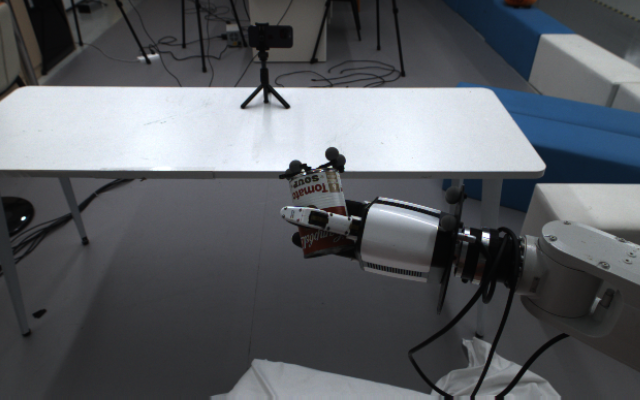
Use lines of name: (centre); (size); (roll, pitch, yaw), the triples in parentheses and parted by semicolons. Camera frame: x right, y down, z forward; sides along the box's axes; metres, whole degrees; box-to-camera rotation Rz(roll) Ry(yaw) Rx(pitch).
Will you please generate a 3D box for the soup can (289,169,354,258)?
soup can: (0.004, 0.018, 0.617); (0.067, 0.067, 0.101); (-10, 80, -16)
